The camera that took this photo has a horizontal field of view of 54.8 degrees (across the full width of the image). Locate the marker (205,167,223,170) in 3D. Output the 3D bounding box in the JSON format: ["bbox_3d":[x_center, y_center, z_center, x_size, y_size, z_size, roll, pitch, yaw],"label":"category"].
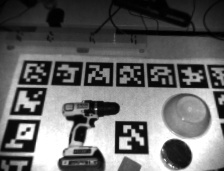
[{"bbox_3d":[0.264,0.248,0.605,0.121,0.020,0.019,-7,64,-5],"label":"marker"}]

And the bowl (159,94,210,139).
[{"bbox_3d":[0.233,0.084,0.684,0.161,0.055,0.161,-1,55,2],"label":"bowl"}]

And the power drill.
[{"bbox_3d":[-0.079,0.143,0.638,0.185,0.057,0.186,2,60,-4],"label":"power drill"}]

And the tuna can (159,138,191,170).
[{"bbox_3d":[0.180,0.197,0.623,0.086,0.034,0.085,2,62,-3],"label":"tuna can"}]

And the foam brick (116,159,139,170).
[{"bbox_3d":[0.034,0.247,0.591,0.051,0.053,0.078,24,65,10],"label":"foam brick"}]
